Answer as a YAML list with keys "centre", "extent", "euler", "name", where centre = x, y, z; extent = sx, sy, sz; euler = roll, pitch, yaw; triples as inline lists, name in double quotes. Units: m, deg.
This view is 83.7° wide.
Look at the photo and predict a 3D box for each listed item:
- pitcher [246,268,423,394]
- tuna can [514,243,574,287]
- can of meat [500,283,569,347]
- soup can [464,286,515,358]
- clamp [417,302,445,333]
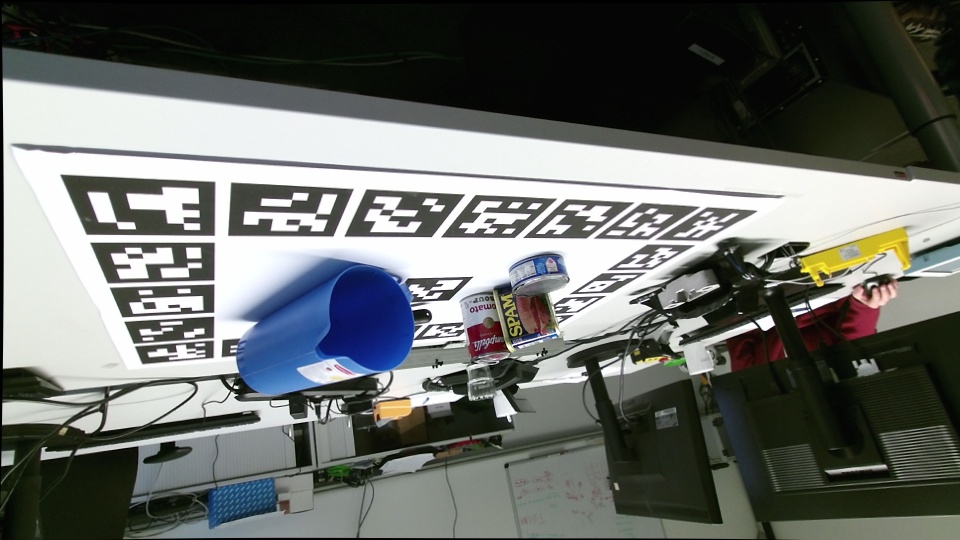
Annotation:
- centre: [-0.201, 0.091, 0.724]
  extent: [0.243, 0.133, 0.189]
  euler: [-22, 180, 38]
  name: "pitcher"
- centre: [0.094, -0.007, 0.793]
  extent: [0.086, 0.033, 0.086]
  euler: [-12, 157, -5]
  name: "tuna can"
- centre: [0.088, 0.060, 0.854]
  extent: [0.084, 0.101, 0.058]
  euler: [-20, 157, 6]
  name: "can of meat"
- centre: [0.018, 0.087, 0.892]
  extent: [0.068, 0.101, 0.068]
  euler: [-14, 158, -6]
  name: "soup can"
- centre: [-0.155, 0.080, 0.886]
  extent: [0.166, 0.036, 0.122]
  euler: [2, 158, -26]
  name: "clamp"
